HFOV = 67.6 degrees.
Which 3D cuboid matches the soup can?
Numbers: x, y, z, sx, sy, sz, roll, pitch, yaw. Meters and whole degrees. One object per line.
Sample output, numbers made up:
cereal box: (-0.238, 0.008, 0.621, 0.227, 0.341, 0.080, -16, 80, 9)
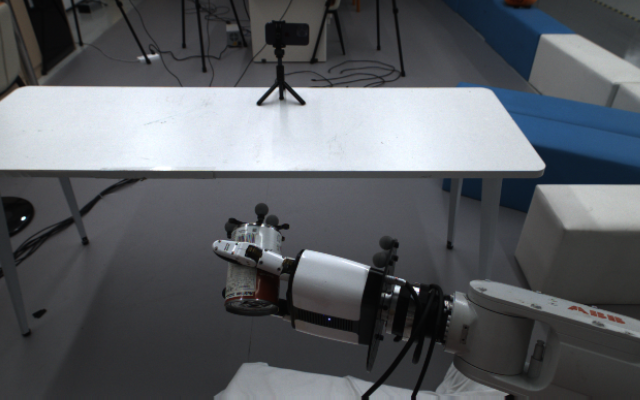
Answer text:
soup can: (-0.080, 0.088, 0.611, 0.067, 0.067, 0.101, 0, 61, -3)
